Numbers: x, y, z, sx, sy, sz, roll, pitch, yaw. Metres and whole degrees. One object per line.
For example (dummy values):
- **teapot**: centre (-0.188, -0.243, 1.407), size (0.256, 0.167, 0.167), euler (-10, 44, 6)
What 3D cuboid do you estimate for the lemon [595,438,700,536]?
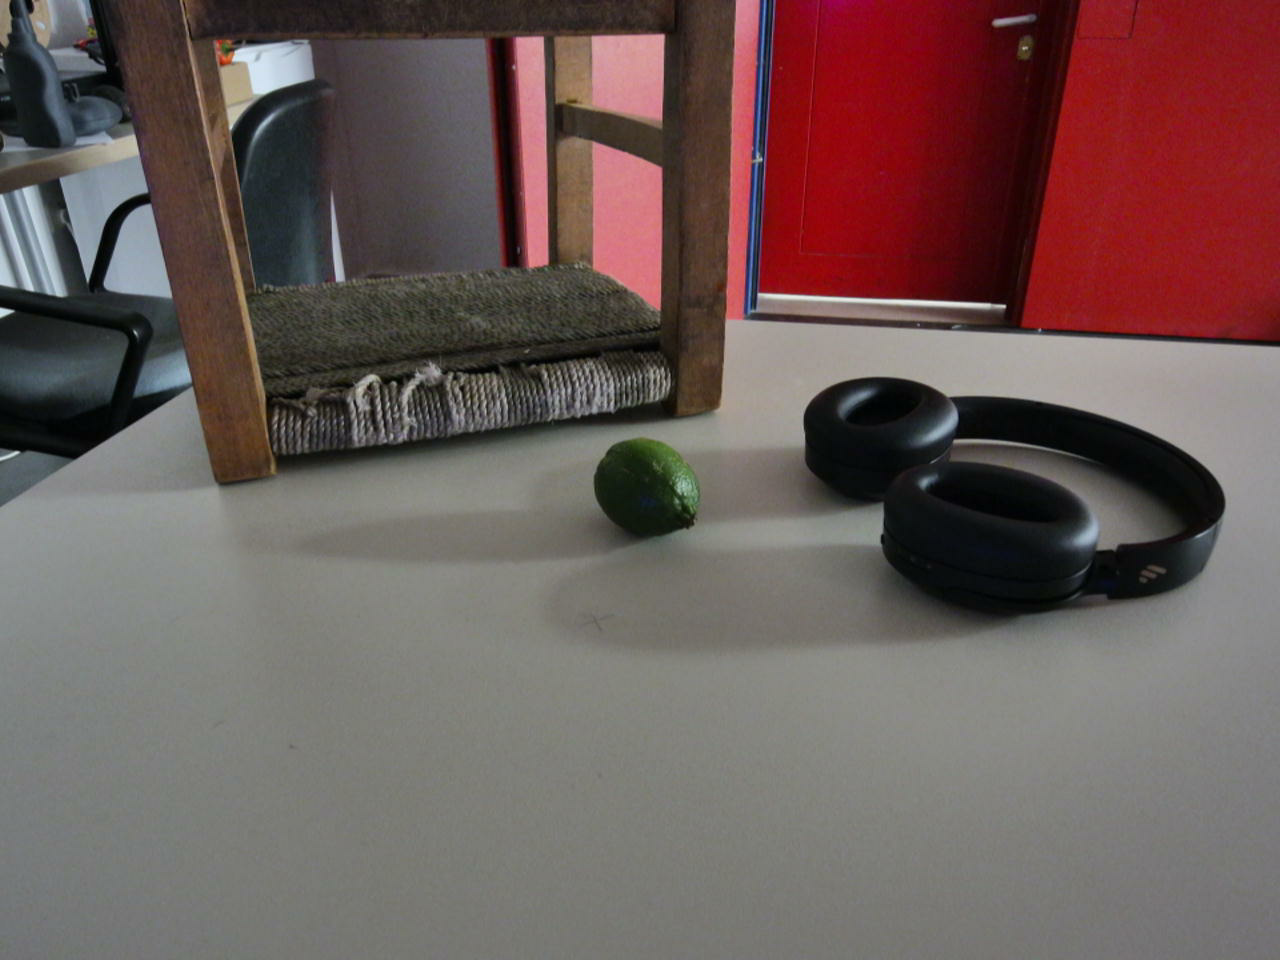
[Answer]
- **lemon**: centre (0.004, 0.003, 0.542), size (0.057, 0.051, 0.054), euler (2, 26, 8)
